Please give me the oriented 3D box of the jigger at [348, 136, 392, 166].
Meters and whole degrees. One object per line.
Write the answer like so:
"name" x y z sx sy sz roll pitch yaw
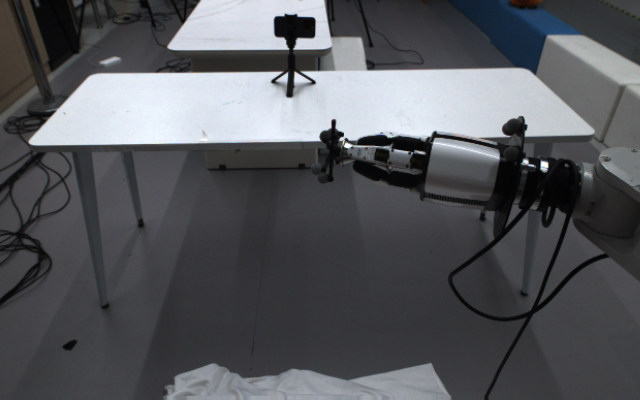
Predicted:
"jigger" 0.072 -0.066 0.664 0.071 0.043 0.043 8 35 16
